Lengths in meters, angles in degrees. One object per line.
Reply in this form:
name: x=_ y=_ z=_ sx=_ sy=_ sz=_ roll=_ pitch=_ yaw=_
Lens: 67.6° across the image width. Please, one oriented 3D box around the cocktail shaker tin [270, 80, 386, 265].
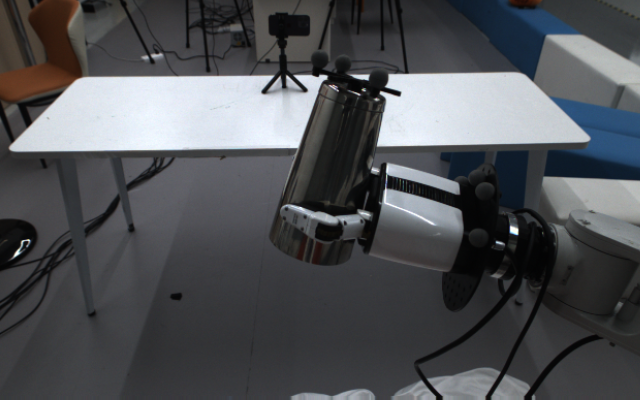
cocktail shaker tin: x=0.013 y=-0.029 z=0.499 sx=0.093 sy=0.170 sz=0.093 roll=14 pitch=20 yaw=-5
